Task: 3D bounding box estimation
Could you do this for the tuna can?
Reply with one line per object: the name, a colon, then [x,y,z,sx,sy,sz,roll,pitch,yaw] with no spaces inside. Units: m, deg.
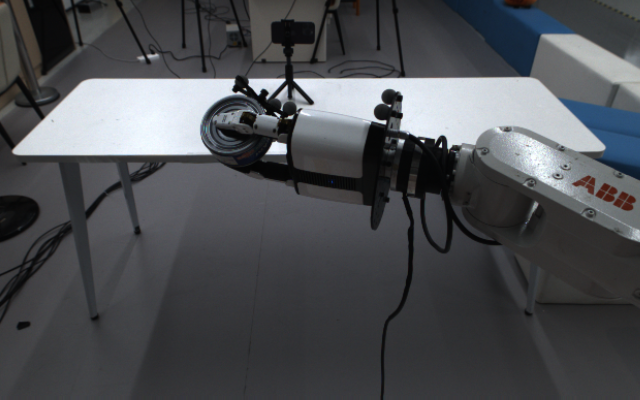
tuna can: [-0.099,-0.080,0.596,0.085,0.034,0.085,-4,69,10]
